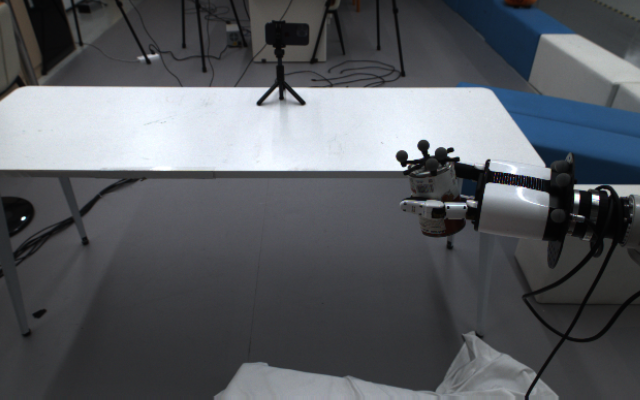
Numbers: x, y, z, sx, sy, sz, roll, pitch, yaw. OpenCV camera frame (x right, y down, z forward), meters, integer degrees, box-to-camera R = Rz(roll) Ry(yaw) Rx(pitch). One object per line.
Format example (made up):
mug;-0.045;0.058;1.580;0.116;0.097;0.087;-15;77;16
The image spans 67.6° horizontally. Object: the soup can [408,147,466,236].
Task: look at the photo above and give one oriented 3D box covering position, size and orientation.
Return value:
soup can;0.171;-0.007;0.706;0.067;0.101;0.067;-16;23;7
